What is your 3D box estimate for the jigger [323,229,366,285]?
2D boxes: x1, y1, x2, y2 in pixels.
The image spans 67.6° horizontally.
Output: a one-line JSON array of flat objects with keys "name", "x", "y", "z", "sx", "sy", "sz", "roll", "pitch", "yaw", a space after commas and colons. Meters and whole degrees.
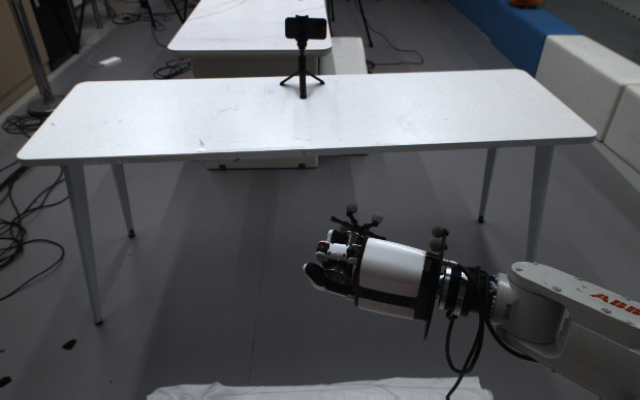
[{"name": "jigger", "x": 0.040, "y": 0.081, "z": 0.704, "sx": 0.043, "sy": 0.043, "sz": 0.071, "roll": 15, "pitch": 58, "yaw": 18}]
